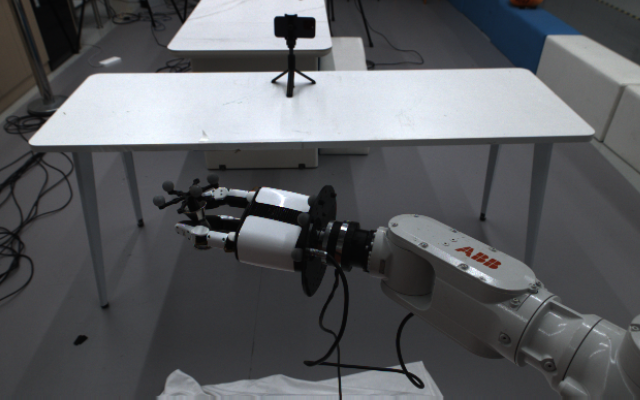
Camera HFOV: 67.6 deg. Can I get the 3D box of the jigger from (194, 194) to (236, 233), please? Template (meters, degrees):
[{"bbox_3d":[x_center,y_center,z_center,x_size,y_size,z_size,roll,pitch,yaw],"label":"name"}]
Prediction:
[{"bbox_3d":[-0.177,0.035,0.725,0.043,0.071,0.043,-10,33,6],"label":"jigger"}]
